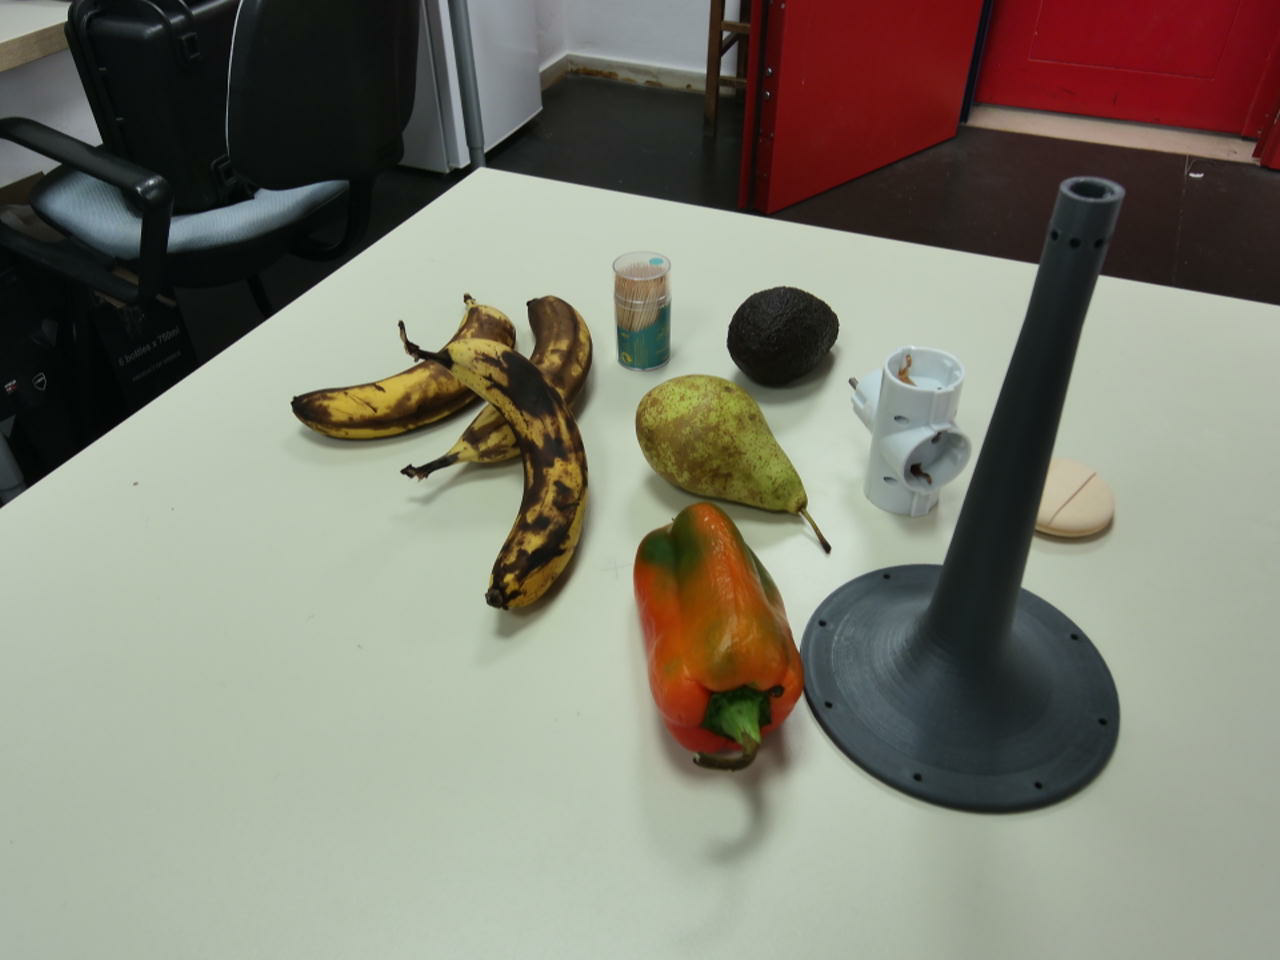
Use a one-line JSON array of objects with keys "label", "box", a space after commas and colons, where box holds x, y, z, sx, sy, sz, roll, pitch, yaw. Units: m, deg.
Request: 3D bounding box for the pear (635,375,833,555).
[{"label": "pear", "box": [0.058, -0.021, 0.590, 0.128, 0.075, 0.071, 12, 40, 13]}]
